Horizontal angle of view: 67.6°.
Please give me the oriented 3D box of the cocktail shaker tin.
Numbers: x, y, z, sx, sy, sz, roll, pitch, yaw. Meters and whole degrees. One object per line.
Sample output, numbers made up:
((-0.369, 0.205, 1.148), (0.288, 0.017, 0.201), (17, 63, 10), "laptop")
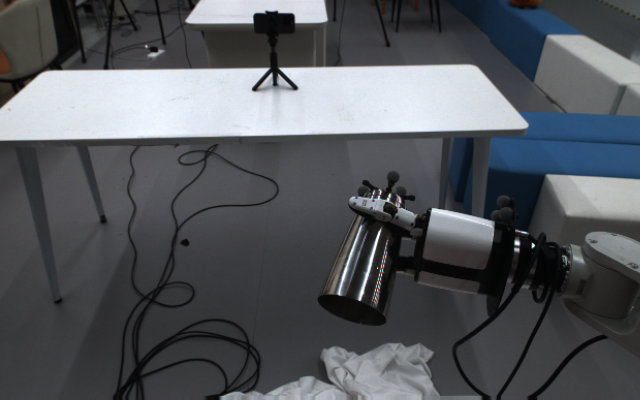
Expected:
((0.066, 0.069, 0.658), (0.093, 0.093, 0.170), (13, 59, 16), "cocktail shaker tin")
